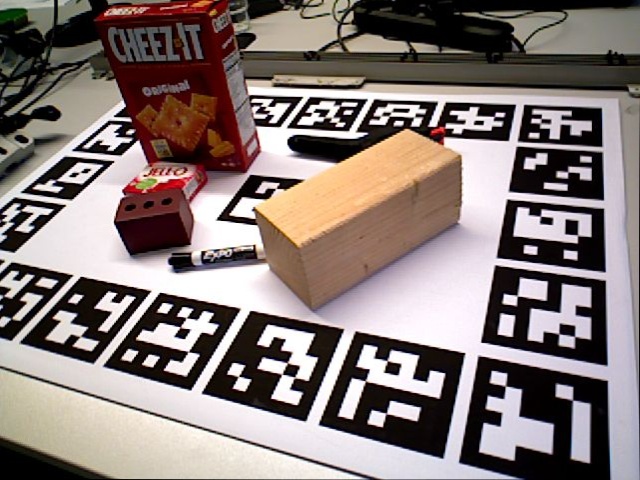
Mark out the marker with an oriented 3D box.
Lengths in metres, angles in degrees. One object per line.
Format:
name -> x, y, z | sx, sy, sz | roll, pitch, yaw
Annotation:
marker -> -0.125, 0.023, 0.602 | 0.121, 0.020, 0.019 | -7, 43, 7

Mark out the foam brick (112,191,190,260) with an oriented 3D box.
foam brick -> -0.200, -0.018, 0.644 | 0.078, 0.052, 0.052 | -11, 43, 3

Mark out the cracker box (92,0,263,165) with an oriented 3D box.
cracker box -> -0.179, -0.205, 0.713 | 0.165, 0.218, 0.070 | 6, 43, 17

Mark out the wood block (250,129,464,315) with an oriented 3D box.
wood block -> 0.043, -0.026, 0.565 | 0.203, 0.092, 0.090 | -29, 42, -21

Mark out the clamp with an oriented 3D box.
clamp -> 0.059, -0.112, 0.691 | 0.202, 0.037, 0.163 | -15, 42, -1

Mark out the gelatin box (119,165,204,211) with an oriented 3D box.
gelatin box -> -0.210, -0.067, 0.721 | 0.090, 0.031, 0.072 | 6, 47, 20
